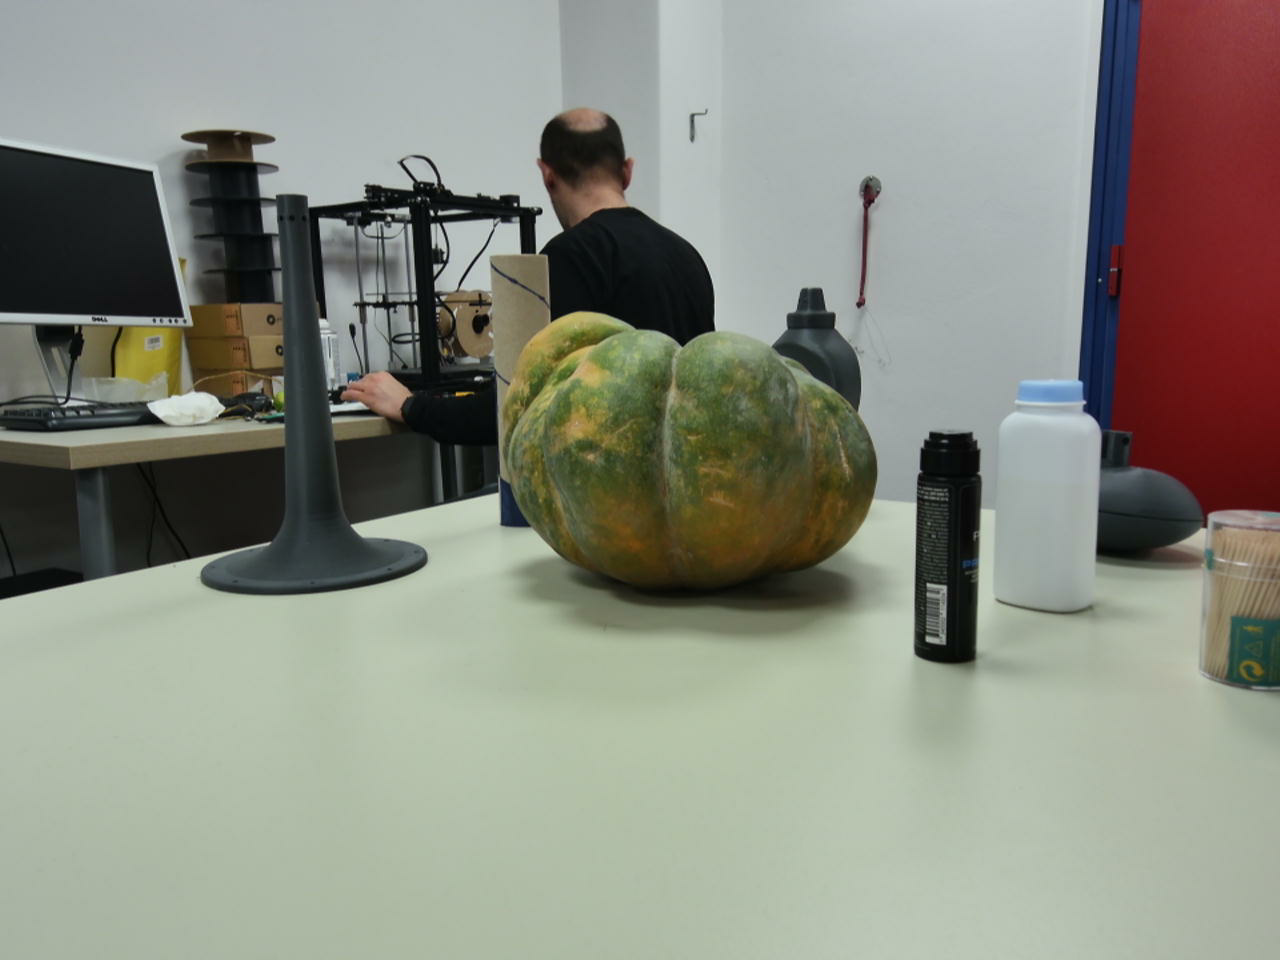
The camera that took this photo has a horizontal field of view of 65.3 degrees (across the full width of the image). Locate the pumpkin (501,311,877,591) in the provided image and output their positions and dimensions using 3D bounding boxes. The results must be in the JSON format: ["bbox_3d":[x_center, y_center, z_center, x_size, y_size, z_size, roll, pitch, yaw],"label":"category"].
[{"bbox_3d":[0.031,-0.022,0.658,0.237,0.173,0.270,-2,7,-18],"label":"pumpkin"}]
